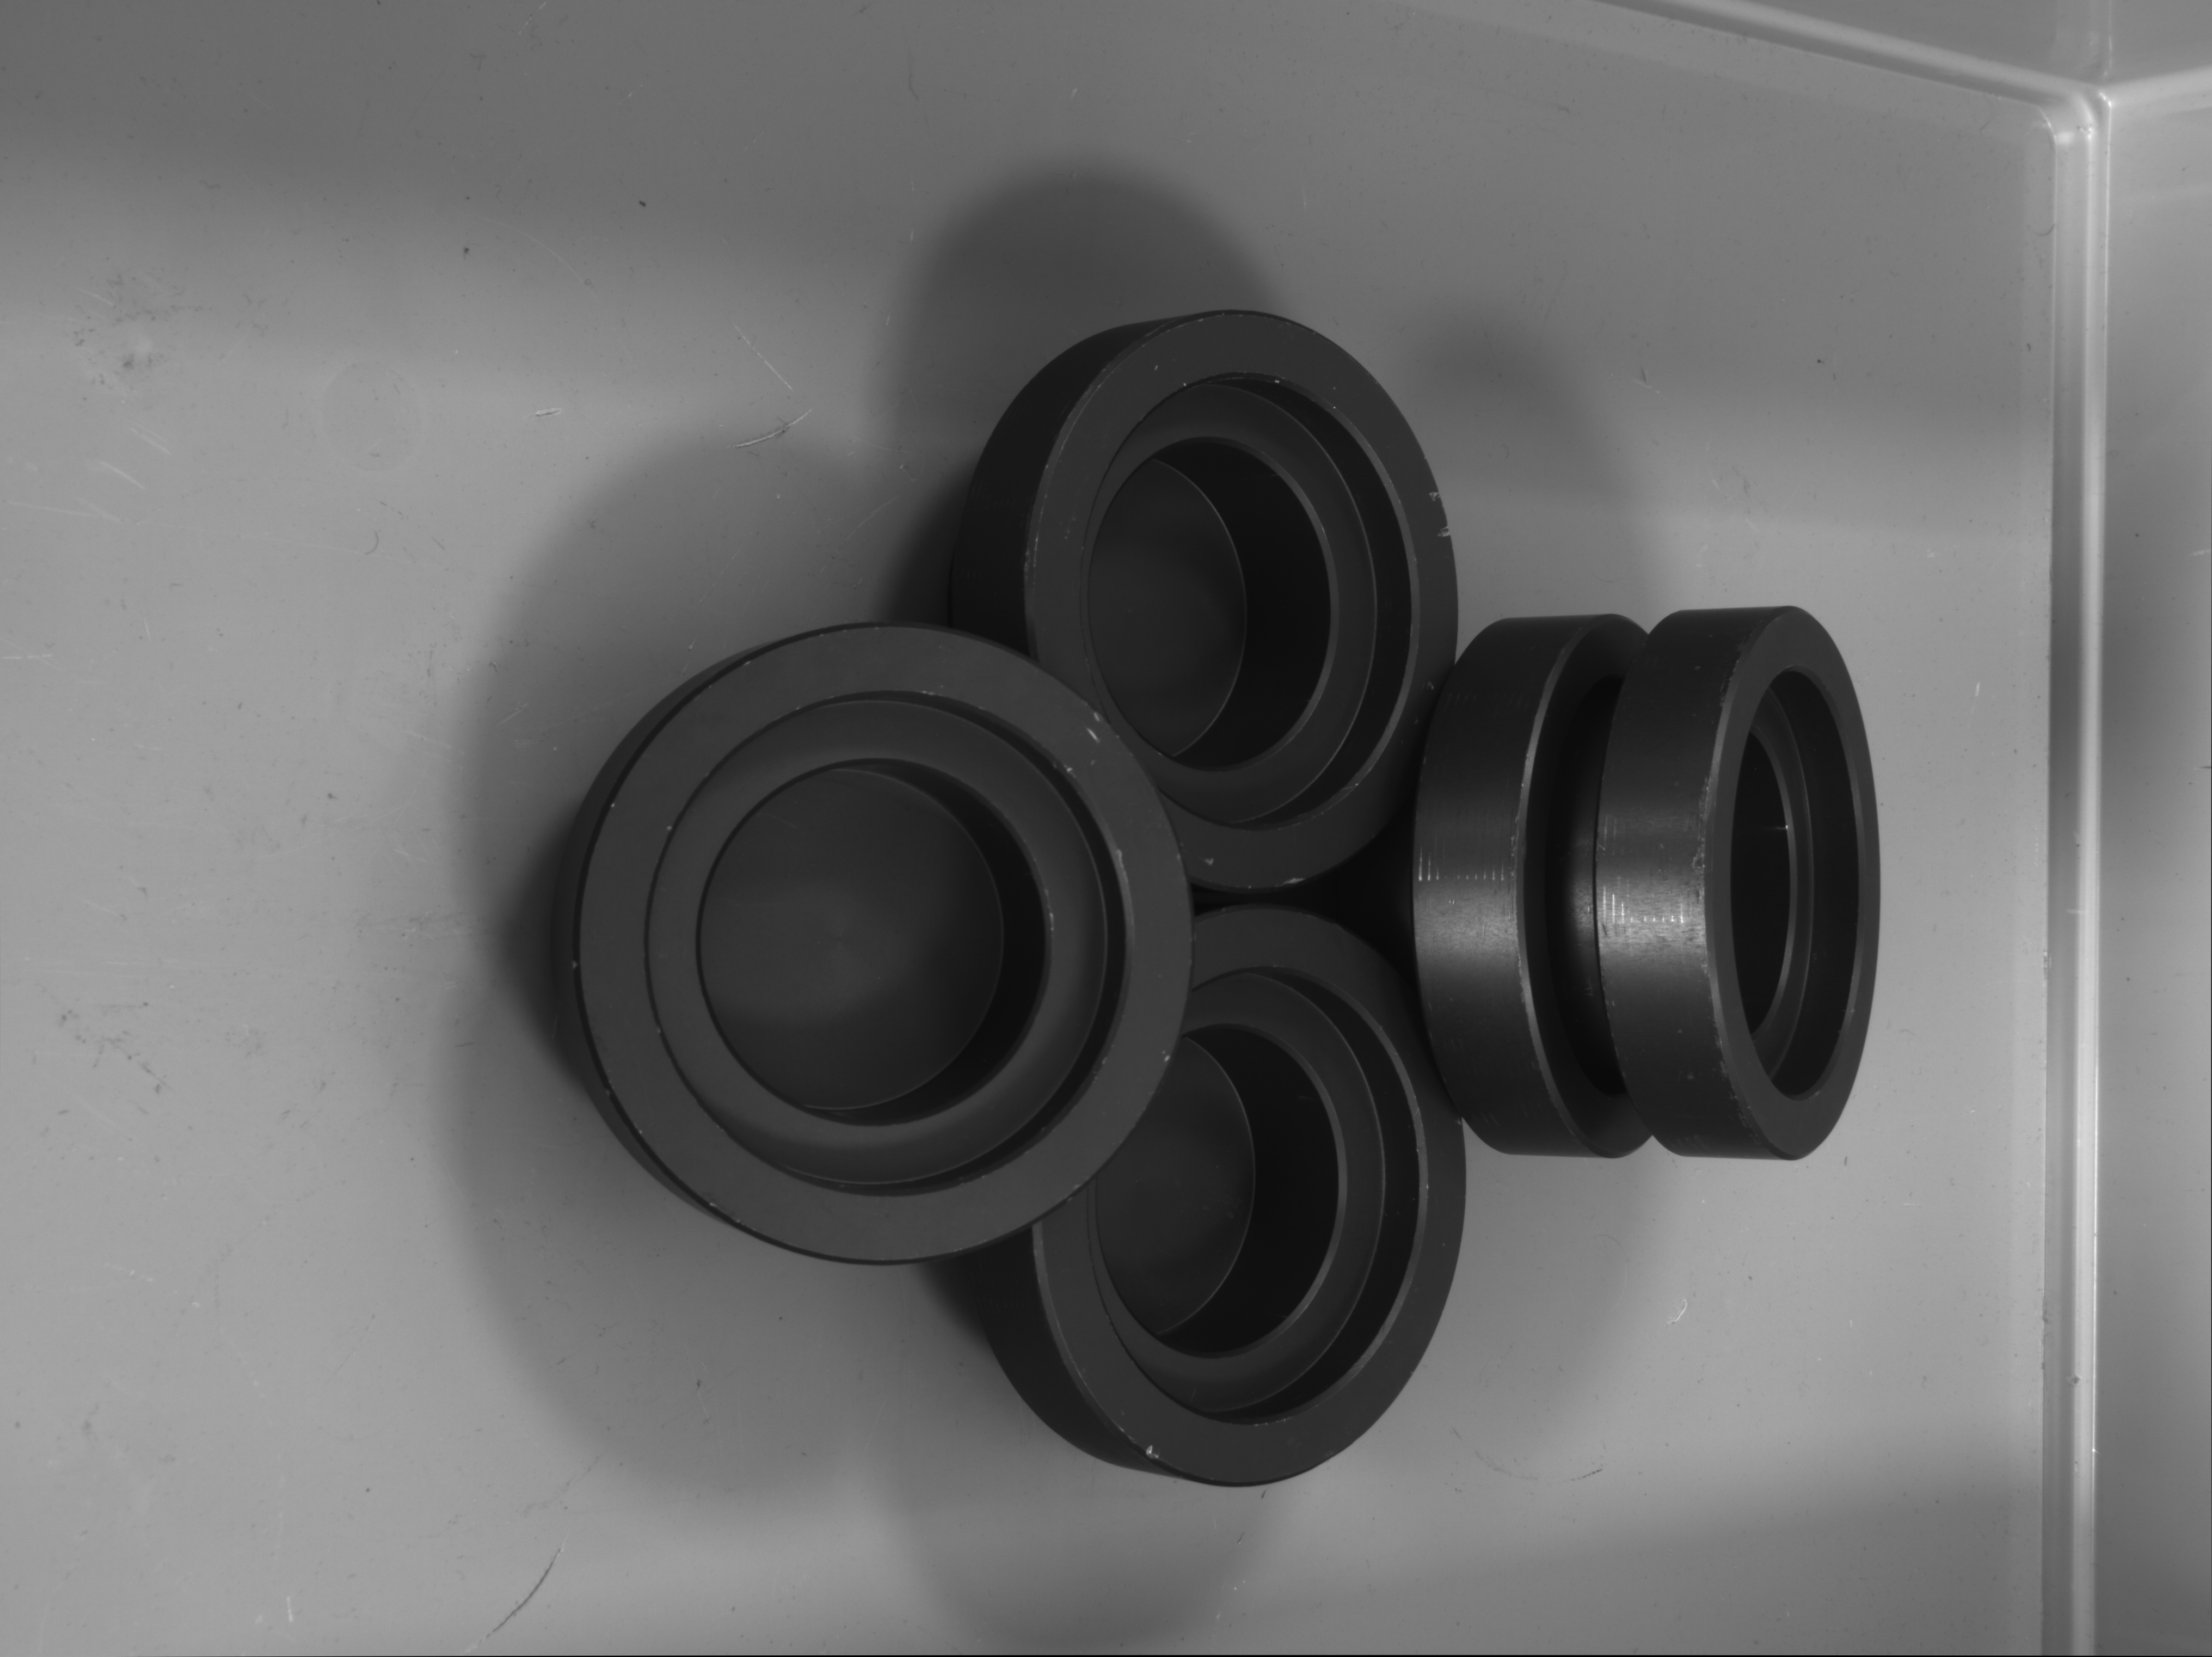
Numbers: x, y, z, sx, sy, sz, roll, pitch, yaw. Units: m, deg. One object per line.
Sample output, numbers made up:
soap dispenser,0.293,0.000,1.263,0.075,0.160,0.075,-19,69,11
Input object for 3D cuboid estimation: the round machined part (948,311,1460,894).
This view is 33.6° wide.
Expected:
round machined part,0.012,-0.038,0.632,0.098,0.042,0.098,0,90,-40

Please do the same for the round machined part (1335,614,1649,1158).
round machined part,0.075,0.011,0.672,0.098,0.042,0.098,3,86,-62

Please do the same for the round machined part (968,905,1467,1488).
round machined part,0.013,0.062,0.633,0.098,0.042,0.098,0,90,-40

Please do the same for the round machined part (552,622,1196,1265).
round machined part,-0.039,0.018,0.578,0.098,0.042,0.098,0,89,-19

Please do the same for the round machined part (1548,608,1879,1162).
round machined part,0.105,0.010,0.660,0.098,0.042,0.098,1,89,-62
